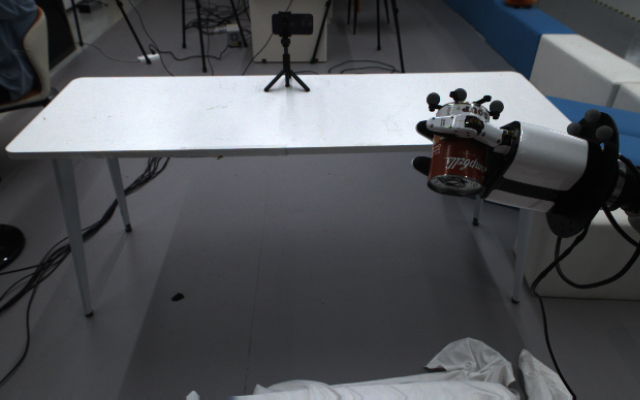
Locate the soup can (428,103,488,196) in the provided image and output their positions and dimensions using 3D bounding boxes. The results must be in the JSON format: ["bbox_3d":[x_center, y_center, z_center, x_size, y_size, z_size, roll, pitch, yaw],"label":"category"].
[{"bbox_3d":[0.175,-0.063,0.604,0.067,0.067,0.101,8,72,9],"label":"soup can"}]
